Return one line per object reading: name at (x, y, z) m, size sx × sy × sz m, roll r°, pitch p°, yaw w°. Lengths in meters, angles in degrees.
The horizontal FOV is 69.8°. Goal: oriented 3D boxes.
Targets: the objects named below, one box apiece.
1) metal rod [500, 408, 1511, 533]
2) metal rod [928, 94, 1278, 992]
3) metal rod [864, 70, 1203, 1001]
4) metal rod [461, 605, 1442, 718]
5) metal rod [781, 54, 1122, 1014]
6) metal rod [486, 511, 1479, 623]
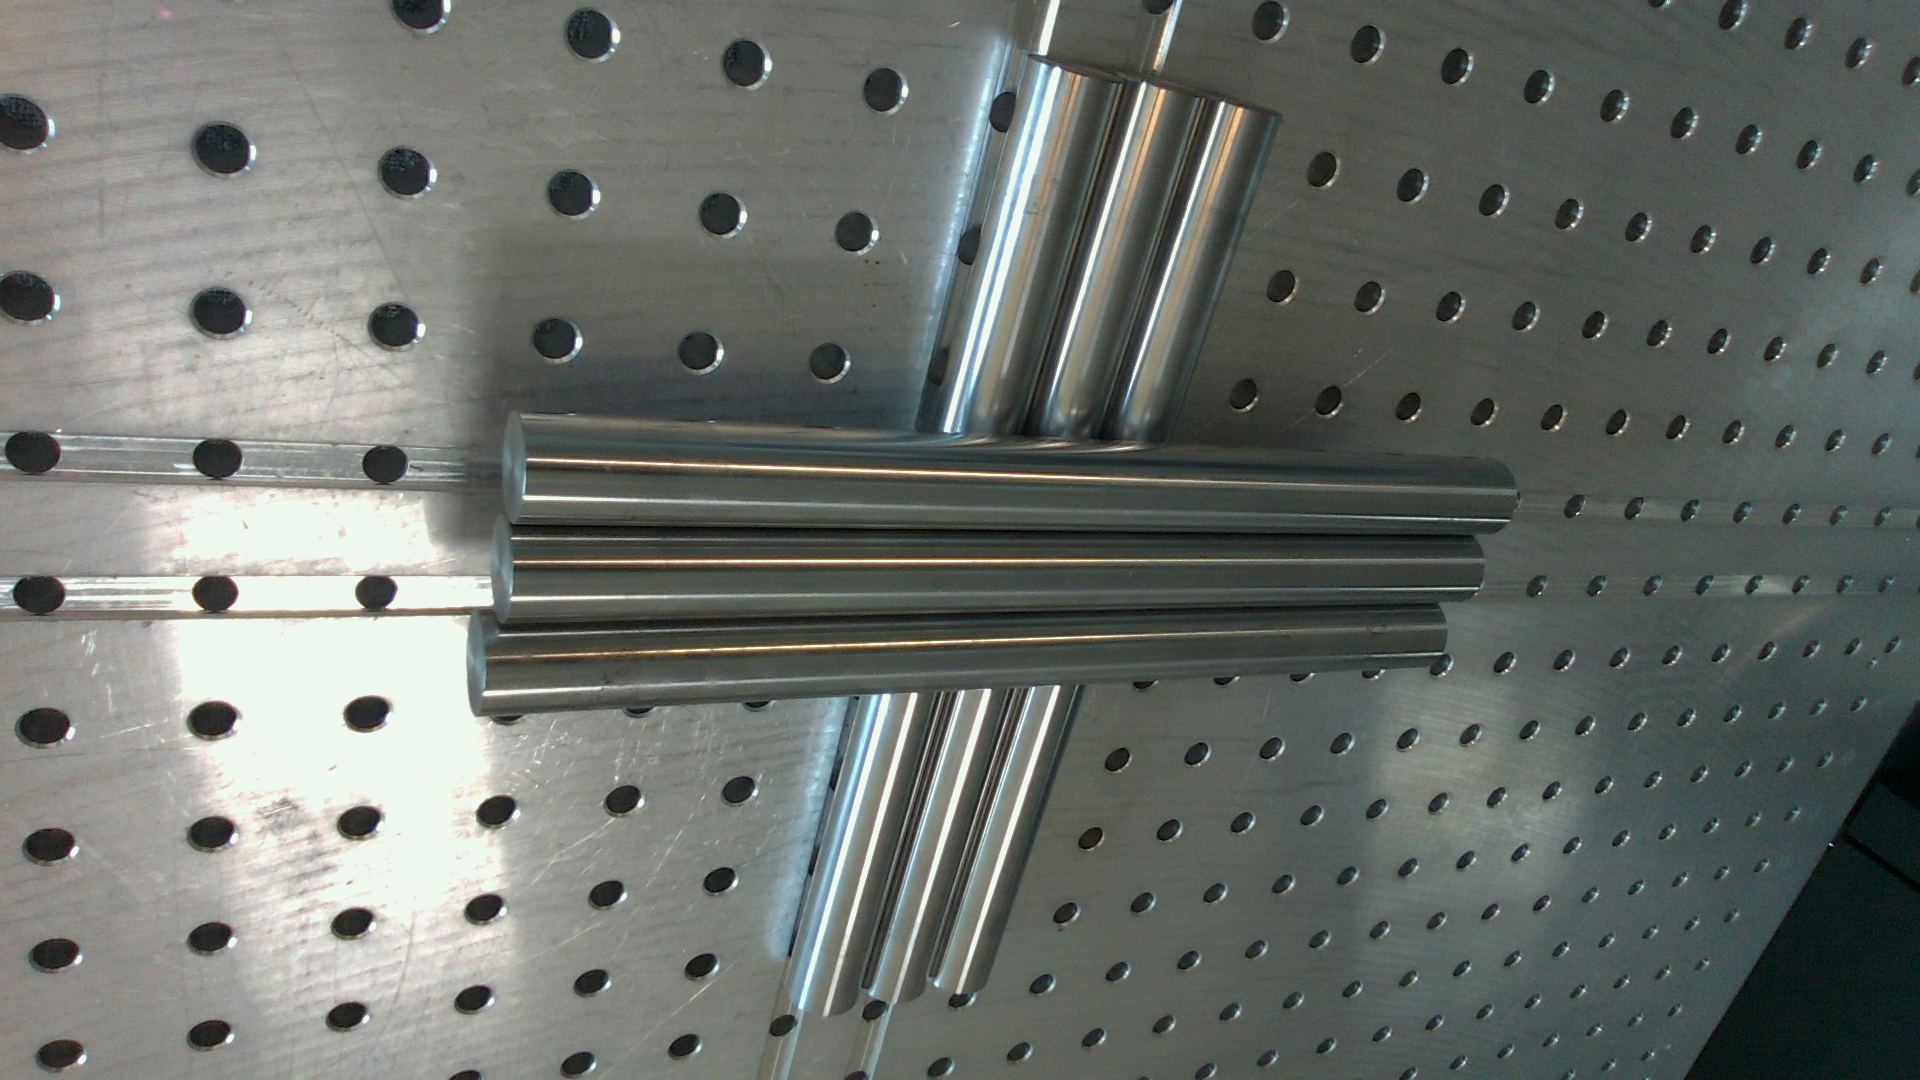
metal rod at (0.035, -0.015, 0.369) m, size 0.301 × 0.025 × 0.025 m, roll 0°, pitch 118°, yaw -29°
metal rod at (0.034, 0.017, 0.421) m, size 0.025 × 0.025 × 0.300 m, roll 2°, pitch 118°, yaw -29°
metal rod at (0.012, 0.016, 0.409) m, size 0.025 × 0.025 × 0.300 m, roll 2°, pitch 118°, yaw -29°
metal rod at (0.020, 0.029, 0.388) m, size 0.301 × 0.025 × 0.025 m, roll 0°, pitch 118°, yaw -29°
metal rod at (-0.010, 0.017, 0.397) m, size 0.025 × 0.025 × 0.300 m, roll 2°, pitch 118°, yaw -29°
metal rod at (0.028, 0.007, 0.379) m, size 0.301 × 0.025 × 0.025 m, roll 0°, pitch 118°, yaw -29°
